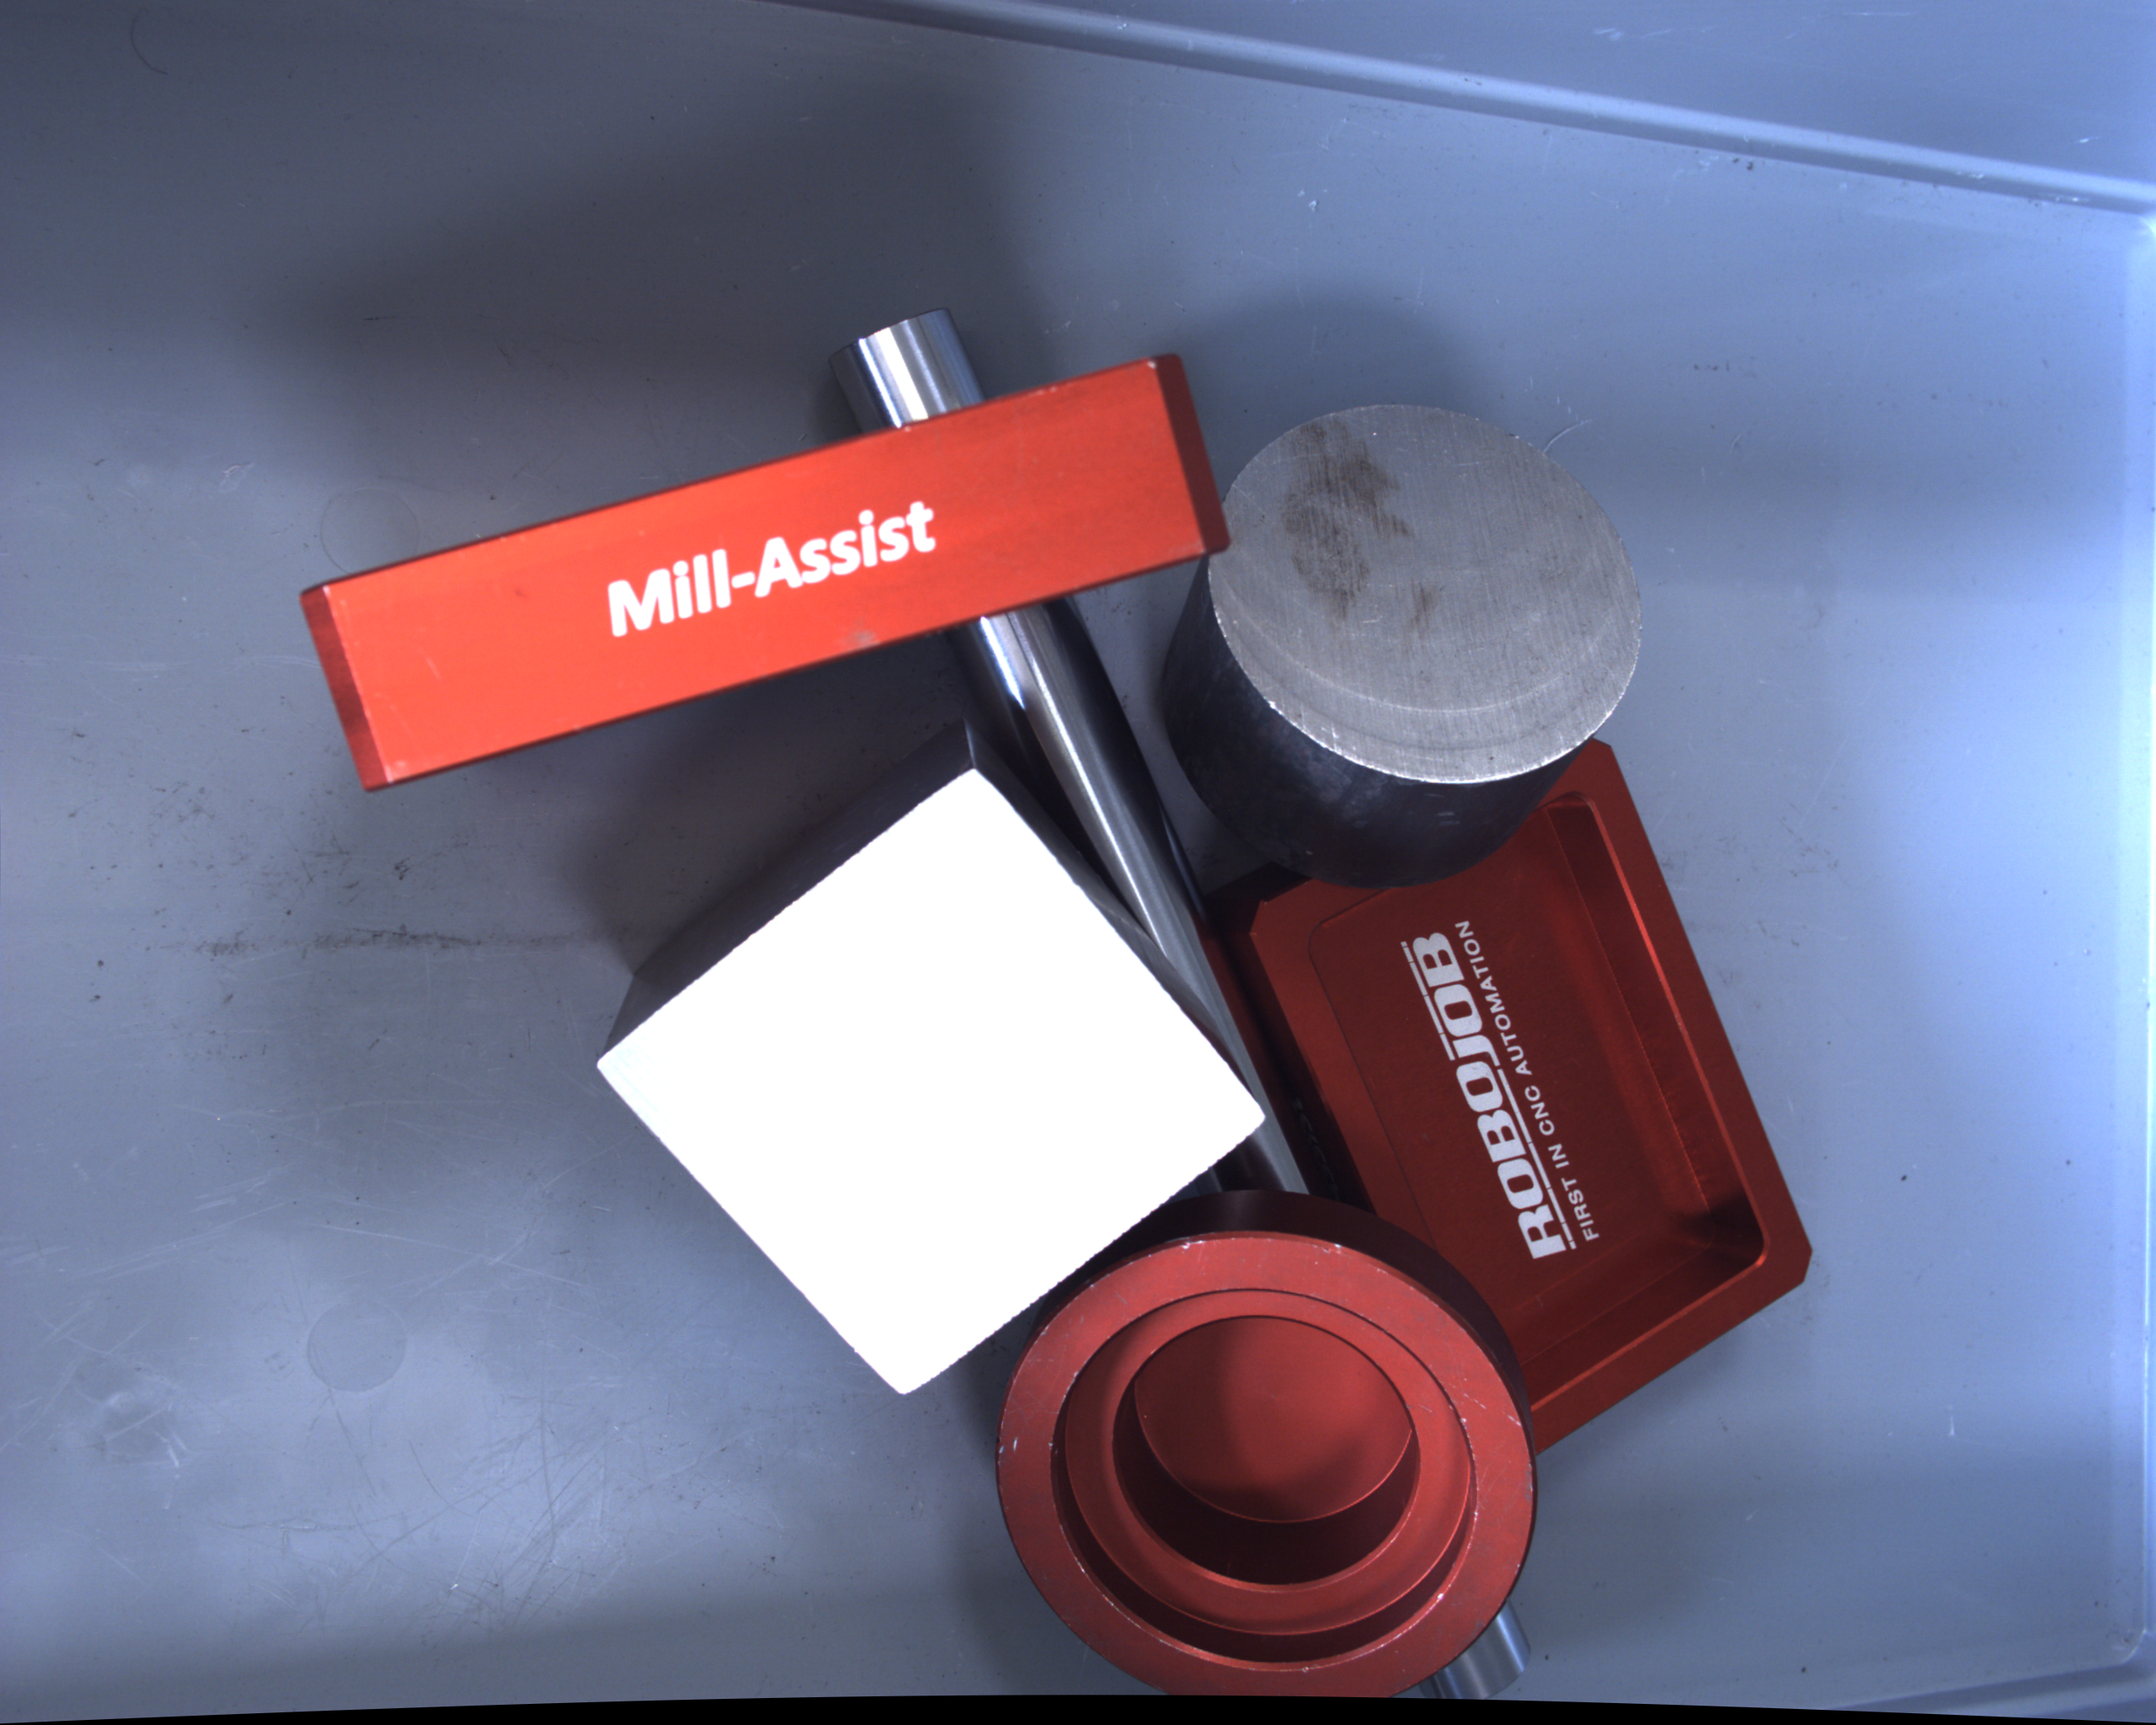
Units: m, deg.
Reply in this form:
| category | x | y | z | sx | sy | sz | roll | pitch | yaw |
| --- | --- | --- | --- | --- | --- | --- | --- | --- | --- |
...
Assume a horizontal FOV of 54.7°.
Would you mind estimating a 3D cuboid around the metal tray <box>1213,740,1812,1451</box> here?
| category | x | y | z | sx | sy | sz | roll | pitch | yaw |
| --- | --- | --- | --- | --- | --- | --- | --- | --- | --- |
| metal tray | 0.091 | 0.048 | 0.440 | 0.091 | 0.030 | 0.129 | -27 | 99 | -18 |

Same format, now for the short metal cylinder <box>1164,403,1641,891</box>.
| category | x | y | z | sx | sy | sz | roll | pitch | yaw |
| --- | --- | --- | --- | --- | --- | --- | --- | --- | --- |
| short metal cylinder | 0.060 | -0.041 | 0.402 | 0.081 | 0.050 | 0.080 | 3 | 66 | -7 |

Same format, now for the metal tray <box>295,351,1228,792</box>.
| category | x | y | z | sx | sy | sz | roll | pitch | yaw |
| --- | --- | --- | --- | --- | --- | --- | --- | --- | --- |
| metal tray | -0.049 | -0.047 | 0.341 | 0.131 | 0.090 | 0.030 | -17 | 98 | -5 |

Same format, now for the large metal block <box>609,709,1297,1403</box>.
| category | x | y | z | sx | sy | sz | roll | pitch | yaw |
| --- | --- | --- | --- | --- | --- | --- | --- | --- | --- |
| large metal block | -0.022 | 0.032 | 0.368 | 0.080 | 0.050 | 0.080 | -39 | 104 | 3 |

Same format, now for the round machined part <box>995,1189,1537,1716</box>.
| category | x | y | z | sx | sy | sz | roll | pitch | yaw |
| --- | --- | --- | --- | --- | --- | --- | --- | --- | --- |
| round machined part | 0.036 | 0.108 | 0.398 | 0.098 | 0.042 | 0.097 | 2 | 104 | 9 |

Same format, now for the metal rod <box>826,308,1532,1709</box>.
| category | x | y | z | sx | sy | sz | roll | pitch | yaw |
| --- | --- | --- | --- | --- | --- | --- | --- | --- | --- |
| metal rod | 0.024 | 0.035 | 0.417 | 0.025 | 0.025 | 0.299 | -27 | 99 | -18 |
